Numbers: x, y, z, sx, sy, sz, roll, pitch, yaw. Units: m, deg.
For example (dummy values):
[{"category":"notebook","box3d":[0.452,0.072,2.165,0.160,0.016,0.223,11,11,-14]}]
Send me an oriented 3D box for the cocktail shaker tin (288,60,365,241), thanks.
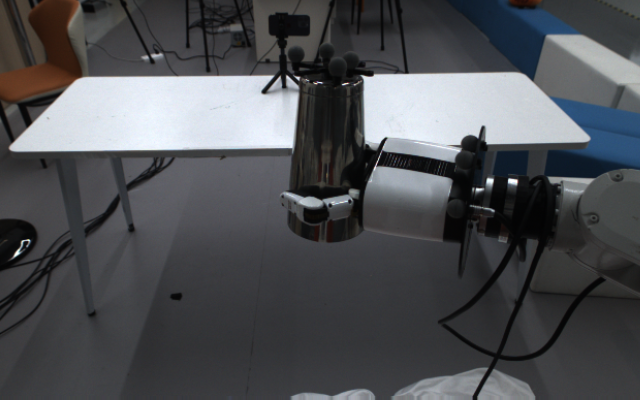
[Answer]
[{"category":"cocktail shaker tin","box3d":[0.011,-0.050,0.532,0.093,0.170,0.093,1,28,-1]}]
